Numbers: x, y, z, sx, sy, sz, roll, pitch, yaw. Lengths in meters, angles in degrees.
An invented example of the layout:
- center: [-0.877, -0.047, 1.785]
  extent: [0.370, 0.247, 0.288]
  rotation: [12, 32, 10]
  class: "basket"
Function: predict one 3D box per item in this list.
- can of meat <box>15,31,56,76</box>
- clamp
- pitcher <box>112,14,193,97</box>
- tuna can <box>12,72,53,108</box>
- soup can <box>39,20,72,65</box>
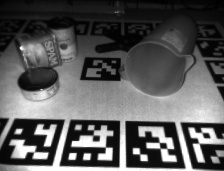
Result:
- center: [-0.199, -0.073, 0.537]
  extent: [0.084, 0.102, 0.057]
  rotation: [-29, 52, -22]
  class: "can of meat"
- center: [0.008, -0.124, 0.662]
  extent: [0.165, 0.037, 0.121]
  rotation: [5, 40, -2]
  class: "clamp"
- center: [0.117, -0.090, 0.542]
  extent: [0.186, 0.134, 0.243]
  rotation: [-1, 32, 30]
  class: "pitcher"
- center: [-0.183, 0.010, 0.505]
  extent: [0.086, 0.034, 0.085]
  rotation: [1, 46, 0]
  class: "tuna can"
- center: [-0.151, -0.116, 0.590]
  extent: [0.068, 0.102, 0.067]
  rotation: [-1, 46, 2]
  class: "soup can"
